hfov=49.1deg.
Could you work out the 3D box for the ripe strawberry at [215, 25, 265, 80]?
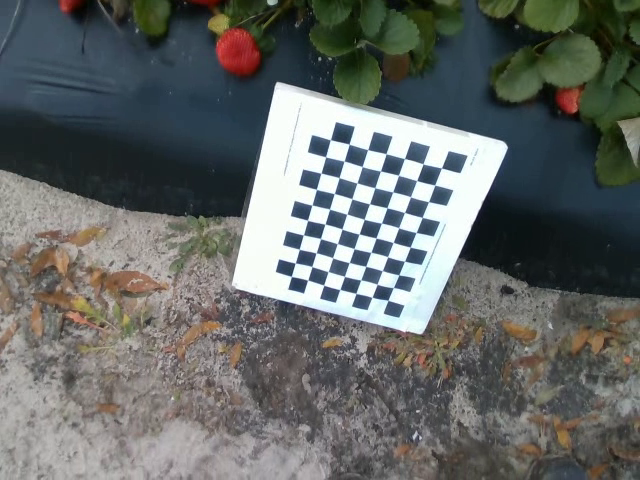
[{"bbox_3d":[-0.100,-0.217,0.802,0.057,0.056,0.065,-11,31,32],"label":"ripe strawberry"}]
